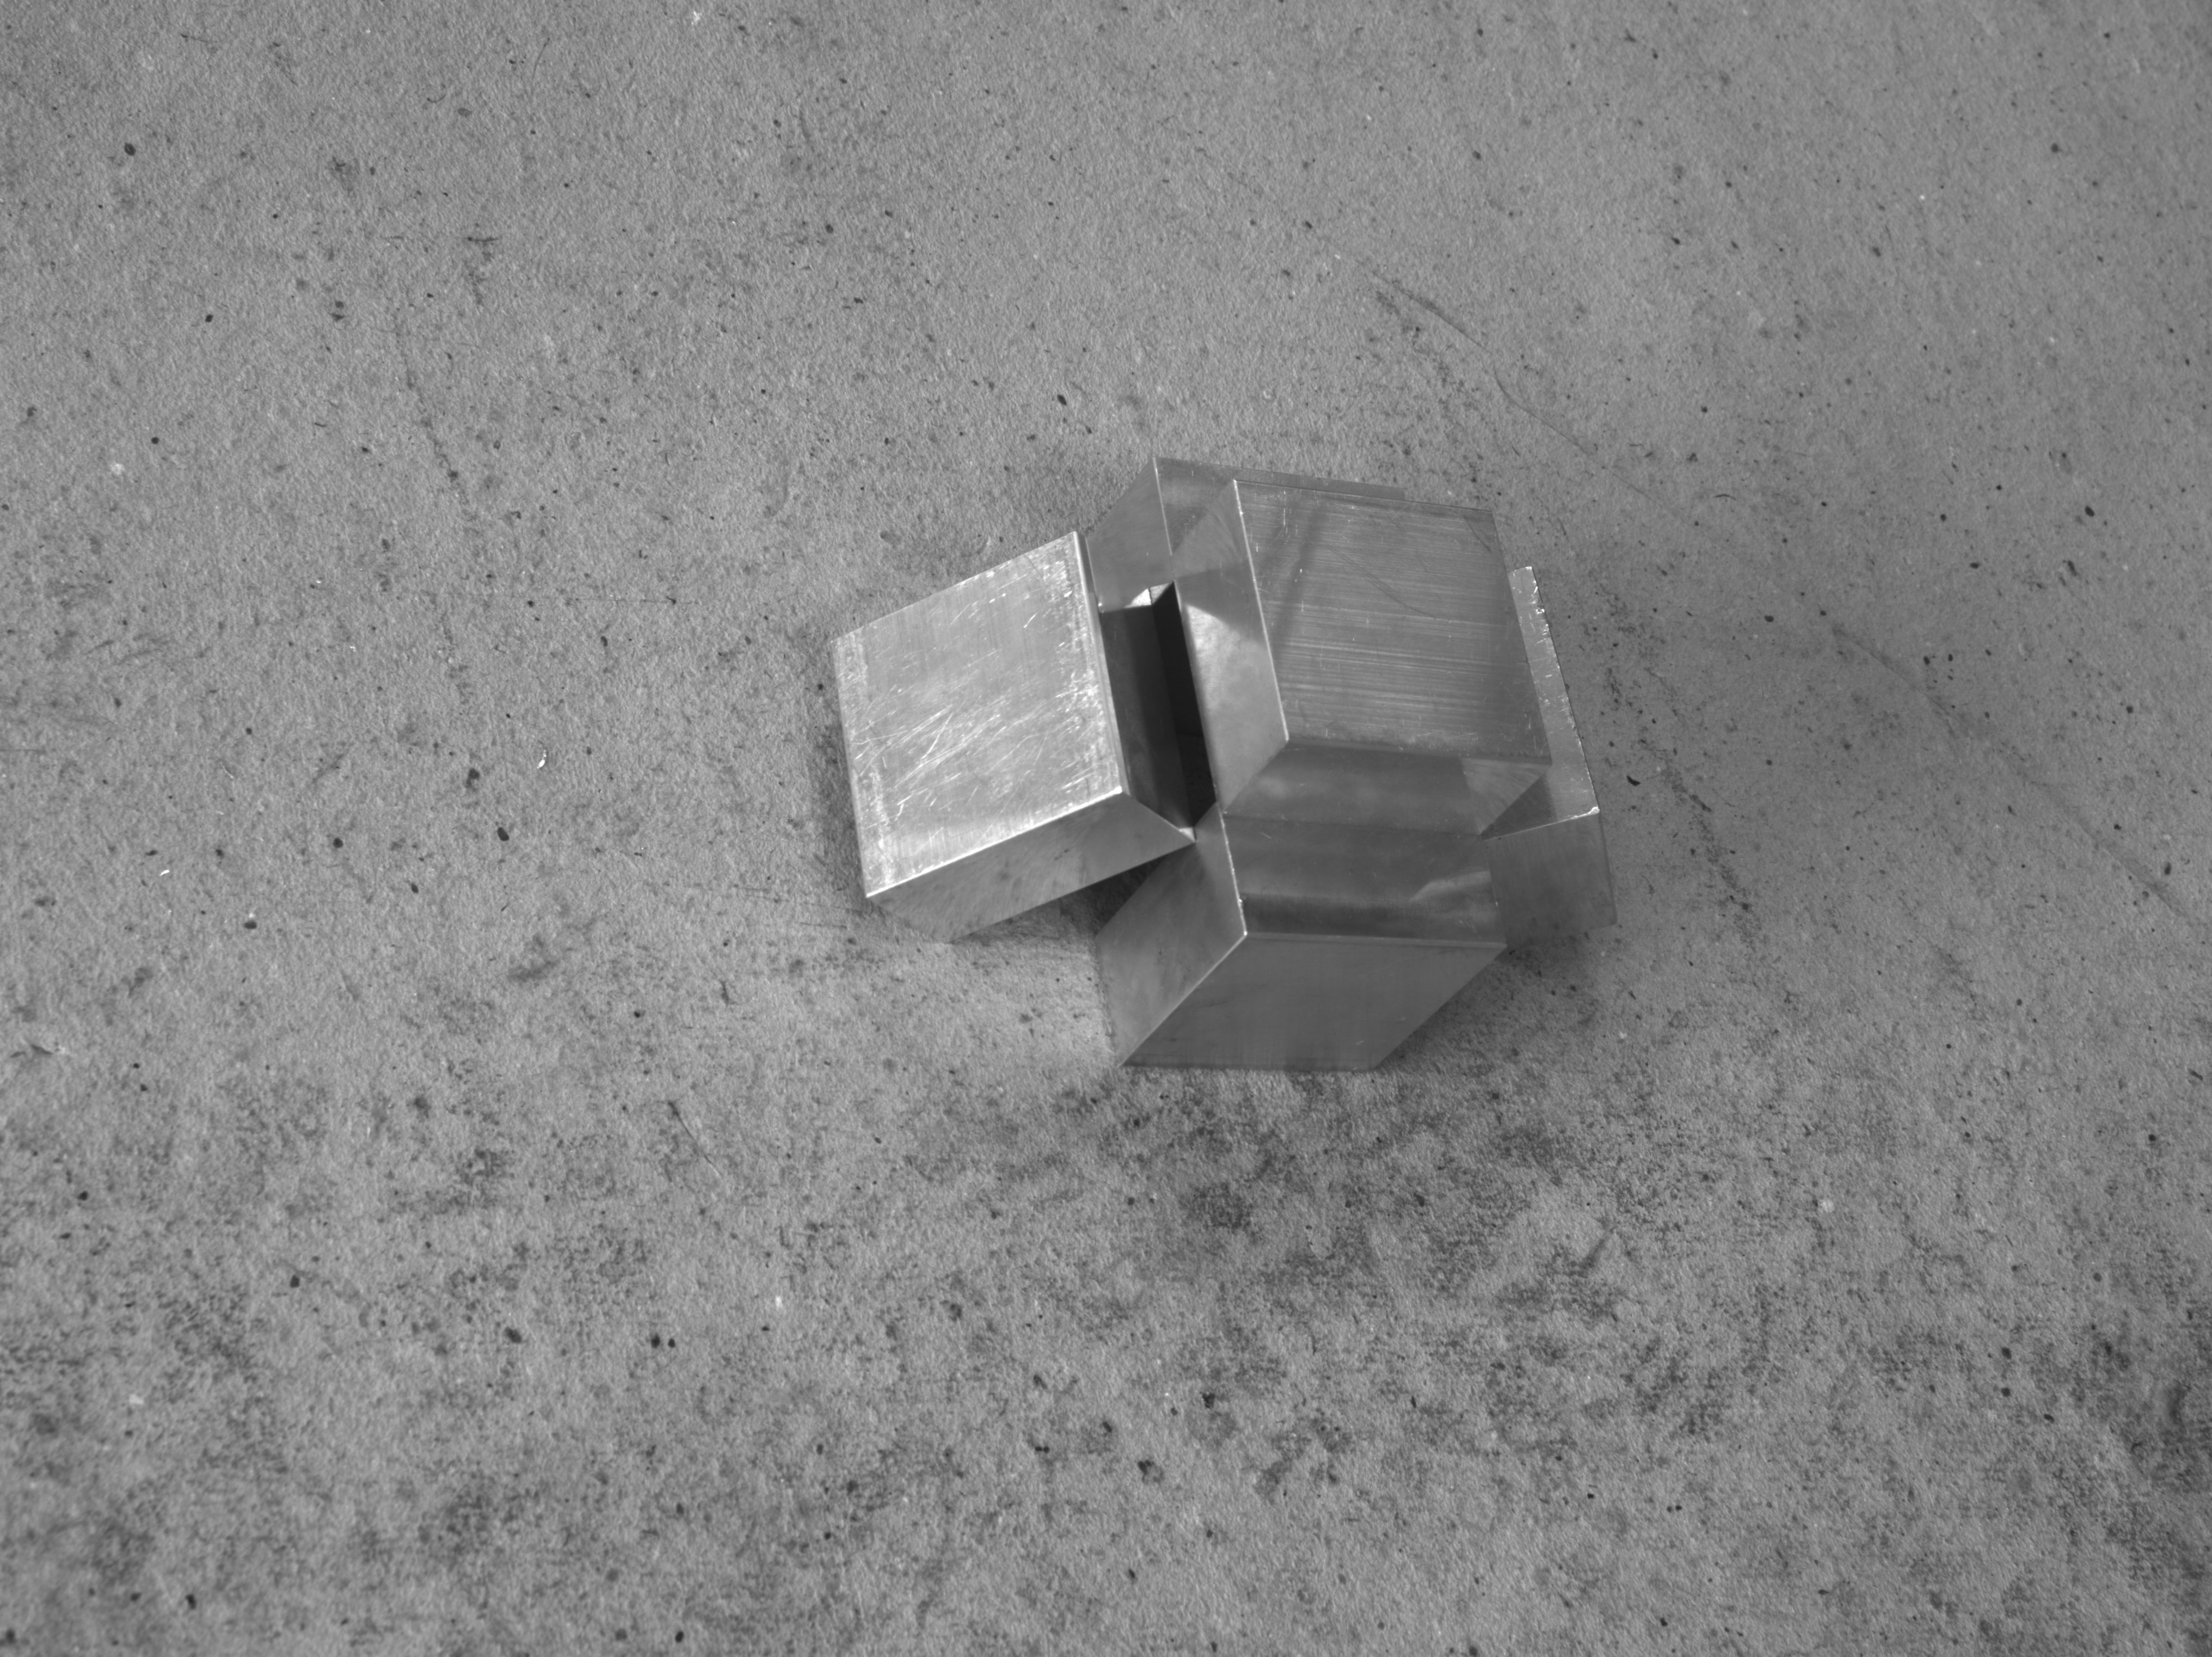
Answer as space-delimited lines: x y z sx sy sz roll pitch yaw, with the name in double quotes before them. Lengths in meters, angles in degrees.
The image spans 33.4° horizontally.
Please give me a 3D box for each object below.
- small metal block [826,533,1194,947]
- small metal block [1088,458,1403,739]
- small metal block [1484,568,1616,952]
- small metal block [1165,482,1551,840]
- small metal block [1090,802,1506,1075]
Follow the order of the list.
"small metal block" -0.017 -0.015 0.622 0.025 0.050 0.050 34 40 -54
"small metal block" 0.022 -0.039 0.660 0.050 0.050 0.025 5 60 -26
"small metal block" 0.072 -0.011 0.667 0.025 0.050 0.050 -14 64 5
"small metal block" 0.042 -0.028 0.616 0.050 0.025 0.050 4 60 -26
"small metal block" 0.032 0.020 0.630 0.050 0.050 0.025 3 60 -26
